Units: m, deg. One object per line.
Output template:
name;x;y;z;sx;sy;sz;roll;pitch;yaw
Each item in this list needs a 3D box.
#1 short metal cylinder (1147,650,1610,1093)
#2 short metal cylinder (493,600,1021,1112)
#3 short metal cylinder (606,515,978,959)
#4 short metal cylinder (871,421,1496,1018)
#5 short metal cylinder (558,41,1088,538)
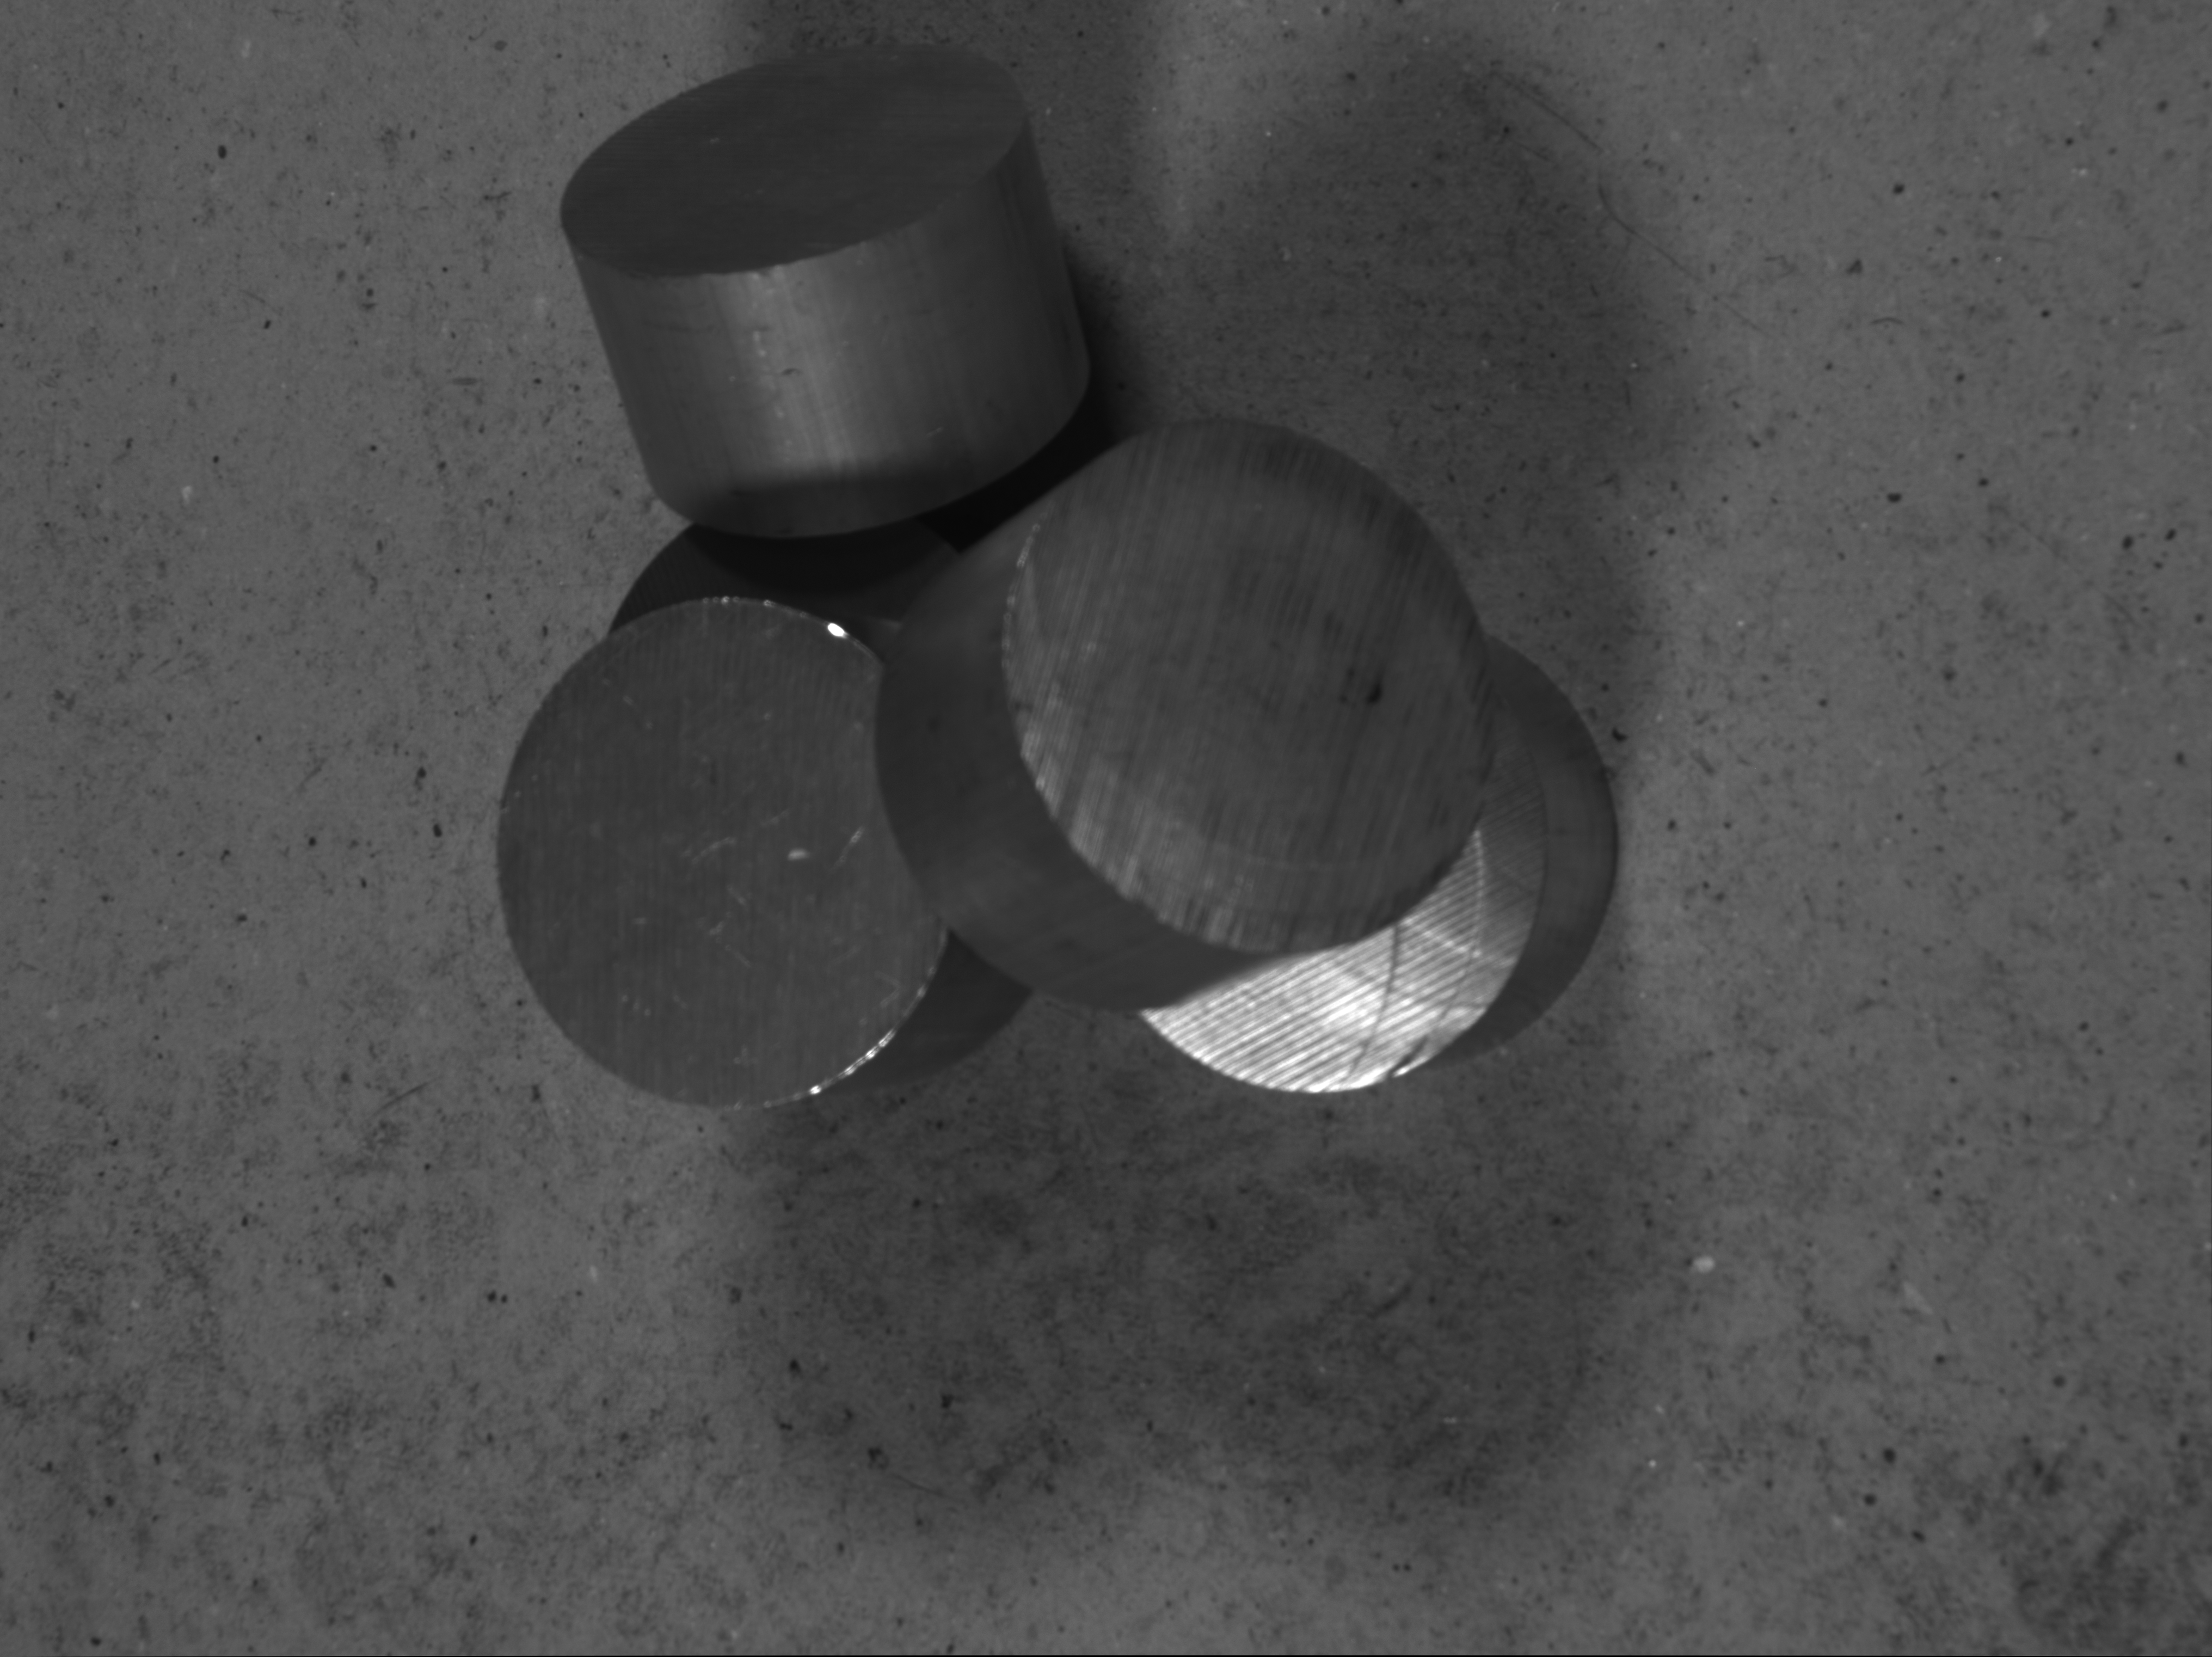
short metal cylinder;0.040;0.003;0.616;0.080;0.050;0.080;0;90;20
short metal cylinder;-0.052;0.004;0.596;0.080;0.050;0.080;0;90;20
short metal cylinder;-0.044;-0.017;0.647;0.080;0.050;0.080;0;90;20
short metal cylinder;0.011;-0.015;0.550;0.050;0.080;0.080;-26;78;61
short metal cylinder;-0.048;-0.093;0.626;0.080;0.080;0.050;0;129;20
